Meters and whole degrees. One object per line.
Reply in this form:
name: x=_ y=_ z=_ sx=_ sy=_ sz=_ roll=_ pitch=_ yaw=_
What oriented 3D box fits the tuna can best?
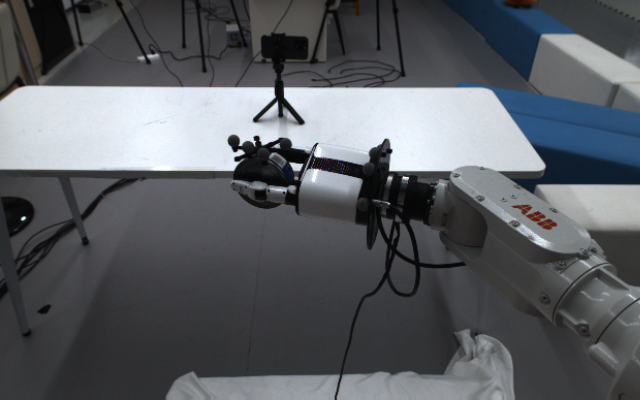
tuna can: x=-0.081 y=-0.032 z=0.715 sx=0.085 sy=0.085 sz=0.034 roll=11 pitch=34 yaw=12
